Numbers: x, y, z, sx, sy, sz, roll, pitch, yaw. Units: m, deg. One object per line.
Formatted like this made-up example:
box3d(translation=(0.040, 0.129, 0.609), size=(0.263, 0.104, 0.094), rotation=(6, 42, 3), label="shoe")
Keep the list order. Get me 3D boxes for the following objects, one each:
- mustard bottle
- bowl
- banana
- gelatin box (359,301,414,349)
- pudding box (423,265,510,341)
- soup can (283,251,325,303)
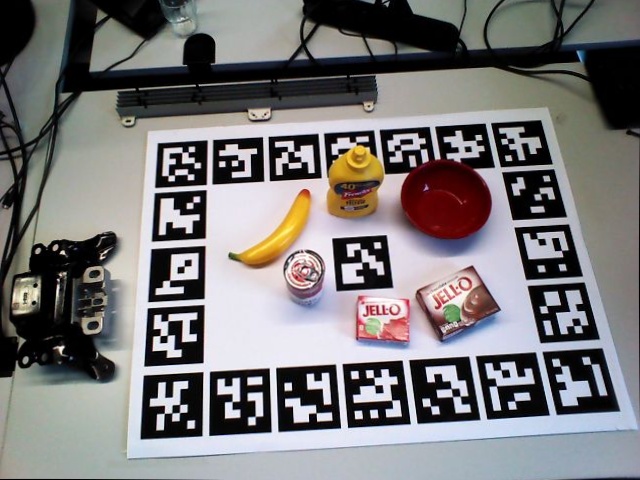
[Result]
box3d(translation=(0.070, -0.107, 0.875), size=(0.096, 0.192, 0.058), rotation=(-3, 64, -1), label="mustard bottle")
box3d(translation=(0.243, -0.069, 0.944), size=(0.162, 0.055, 0.161), rotation=(-1, 67, 2), label="bowl")
box3d(translation=(-0.073, -0.026, 0.940), size=(0.074, 0.039, 0.196), rotation=(33, 72, 25), label="banana")
box3d(translation=(0.112, 0.142, 0.870), size=(0.089, 0.030, 0.073), rotation=(3, 71, 3), label="gelatin box")
box3d(translation=(0.247, 0.106, 0.877), size=(0.114, 0.039, 0.090), rotation=(-26, 75, -9), label="pudding box")
box3d(translation=(-0.026, 0.058, 0.860), size=(0.068, 0.102, 0.067), rotation=(0, 65, -1), label="soup can")
